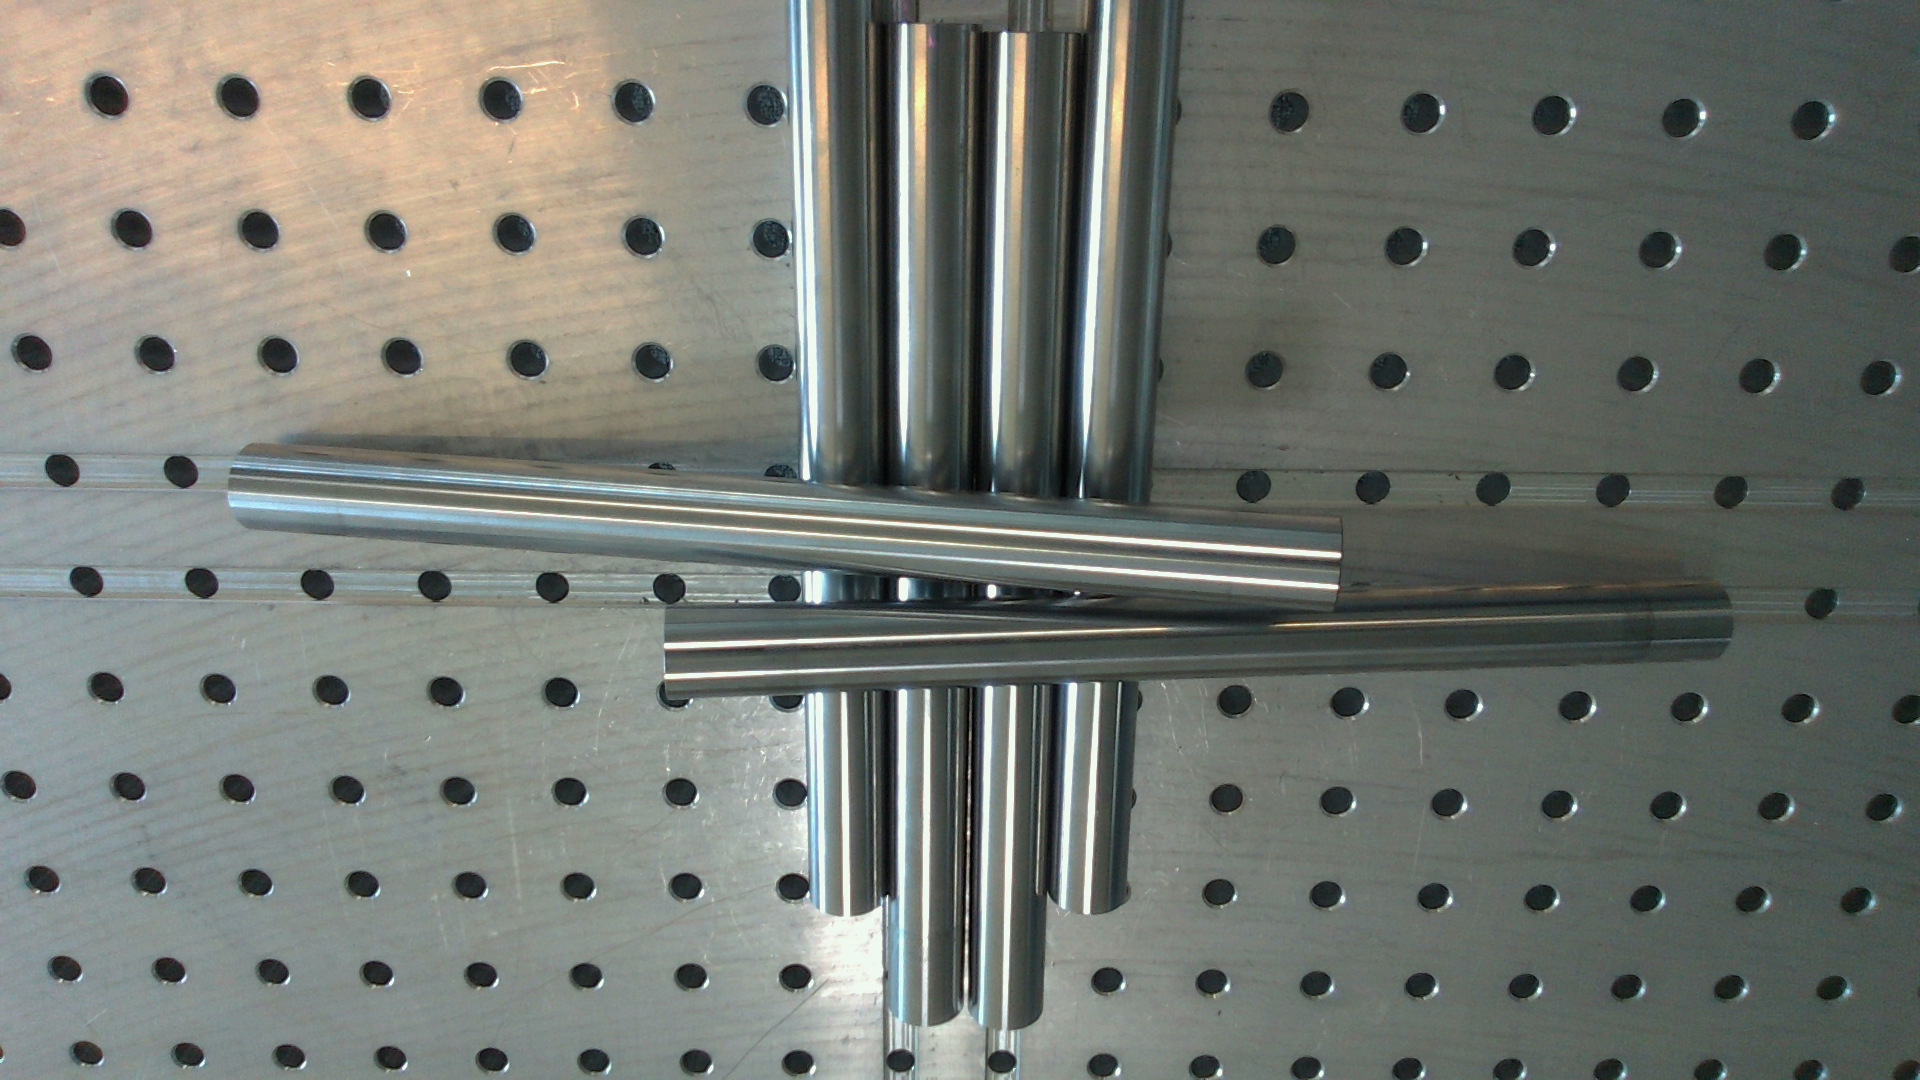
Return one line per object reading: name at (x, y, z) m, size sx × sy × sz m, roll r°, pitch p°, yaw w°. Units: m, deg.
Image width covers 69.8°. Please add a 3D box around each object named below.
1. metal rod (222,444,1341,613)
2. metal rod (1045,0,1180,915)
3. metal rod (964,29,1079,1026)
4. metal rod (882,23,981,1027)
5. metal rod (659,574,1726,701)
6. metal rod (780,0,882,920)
metal rod at (-0.053, -0.004, 0.370) m, size 0.300 × 0.025 × 0.025 m, roll 4°, pitch 110°, yaw 8°
metal rod at (0.041, -0.029, 0.385) m, size 0.025 × 0.025 × 0.300 m, roll 1°, pitch 110°, yaw 0°
metal rod at (0.016, 0.011, 0.402) m, size 0.025 × 0.025 × 0.300 m, roll 1°, pitch 110°, yaw 0°
metal rod at (-0.010, 0.010, 0.399) m, size 0.025 × 0.025 × 0.300 m, roll 1°, pitch 110°, yaw 0°
metal rod at (0.070, 0.026, 0.384) m, size 0.300 × 0.025 × 0.025 m, roll -1°, pitch 110°, yaw -9°
metal rod at (-0.034, -0.028, 0.385) m, size 0.025 × 0.025 × 0.300 m, roll 1°, pitch 110°, yaw 0°
